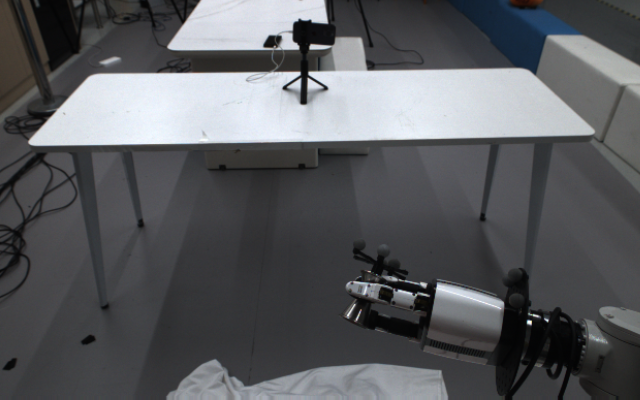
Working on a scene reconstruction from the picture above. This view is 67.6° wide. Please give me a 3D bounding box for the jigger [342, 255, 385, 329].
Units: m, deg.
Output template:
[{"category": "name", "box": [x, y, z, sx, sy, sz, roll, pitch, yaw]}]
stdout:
[{"category": "jigger", "box": [0.058, 0.129, 0.641, 0.043, 0.043, 0.071, 20, 74, 24]}]
